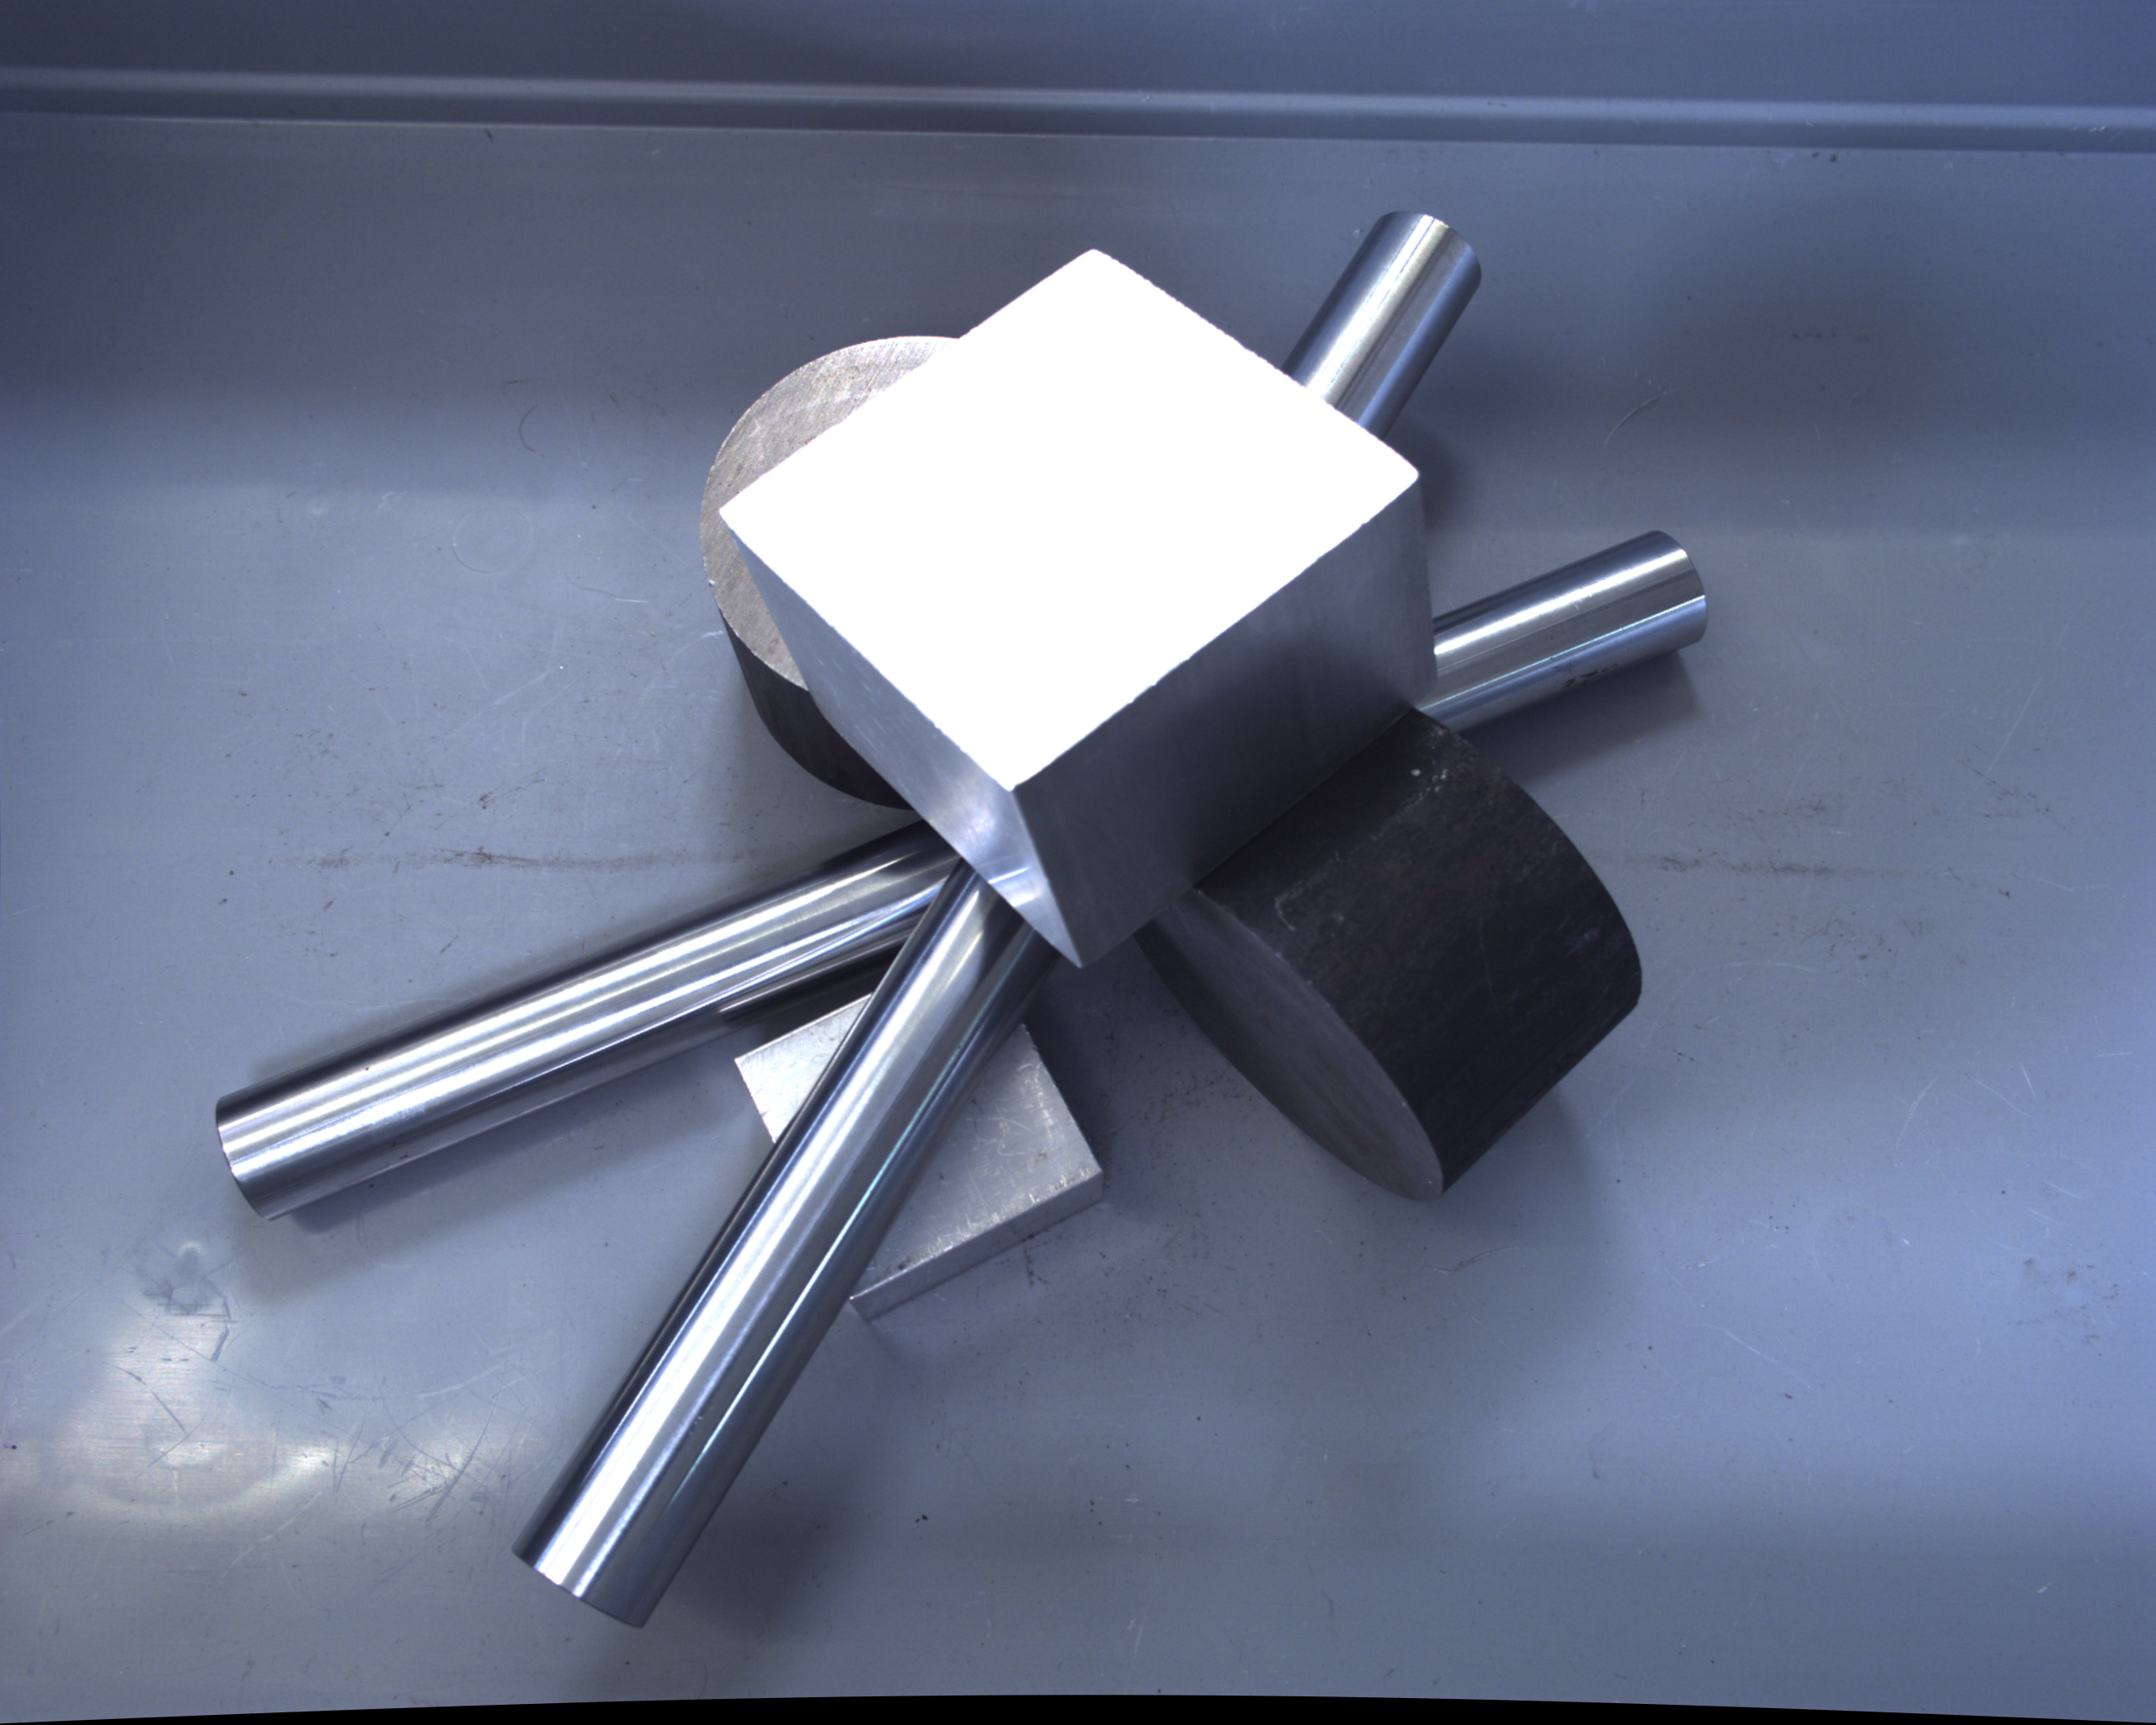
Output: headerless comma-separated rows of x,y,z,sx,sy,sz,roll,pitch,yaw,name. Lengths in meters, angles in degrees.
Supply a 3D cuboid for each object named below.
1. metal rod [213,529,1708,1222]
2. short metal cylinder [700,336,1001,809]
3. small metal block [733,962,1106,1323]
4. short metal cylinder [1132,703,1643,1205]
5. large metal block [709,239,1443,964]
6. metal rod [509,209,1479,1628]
-0.016,-0.001,0.408,0.302,0.025,0.025,-22,72,-8,metal rod
-0.031,-0.057,0.415,0.081,0.050,0.080,0,70,0,short metal cylinder
-0.029,0.050,0.389,0.050,0.025,0.050,-26,72,-10,small metal block
0.053,0.015,0.374,0.050,0.080,0.080,-42,75,-13,short metal cylinder
0.001,-0.045,0.344,0.080,0.050,0.080,-38,57,-12,large metal block
-0.005,-0.004,0.383,0.025,0.025,0.300,29,72,10,metal rod
